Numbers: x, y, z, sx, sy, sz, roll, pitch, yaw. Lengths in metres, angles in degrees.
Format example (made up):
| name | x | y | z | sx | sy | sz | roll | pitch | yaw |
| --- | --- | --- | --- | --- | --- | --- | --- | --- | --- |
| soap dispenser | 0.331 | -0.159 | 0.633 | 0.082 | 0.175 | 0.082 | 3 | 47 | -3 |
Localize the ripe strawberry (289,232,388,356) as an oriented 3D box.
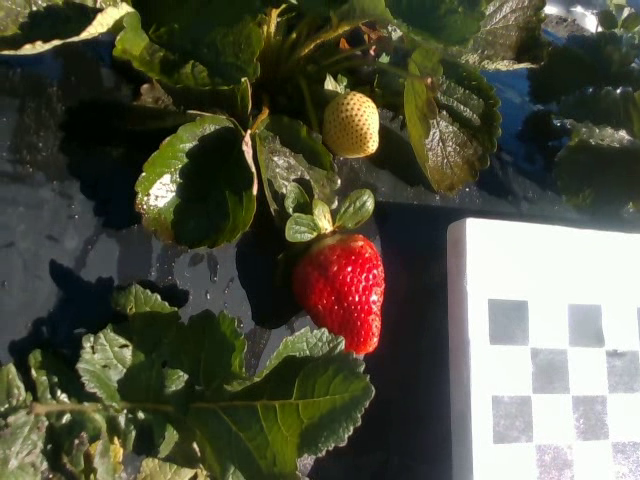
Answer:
| name | x | y | z | sx | sy | sz | roll | pitch | yaw |
| --- | --- | --- | --- | --- | --- | --- | --- | --- | --- |
| ripe strawberry | 0.013 | 0.027 | 0.295 | 0.048 | 0.069 | 0.040 | -15 | -10 | -20 |
